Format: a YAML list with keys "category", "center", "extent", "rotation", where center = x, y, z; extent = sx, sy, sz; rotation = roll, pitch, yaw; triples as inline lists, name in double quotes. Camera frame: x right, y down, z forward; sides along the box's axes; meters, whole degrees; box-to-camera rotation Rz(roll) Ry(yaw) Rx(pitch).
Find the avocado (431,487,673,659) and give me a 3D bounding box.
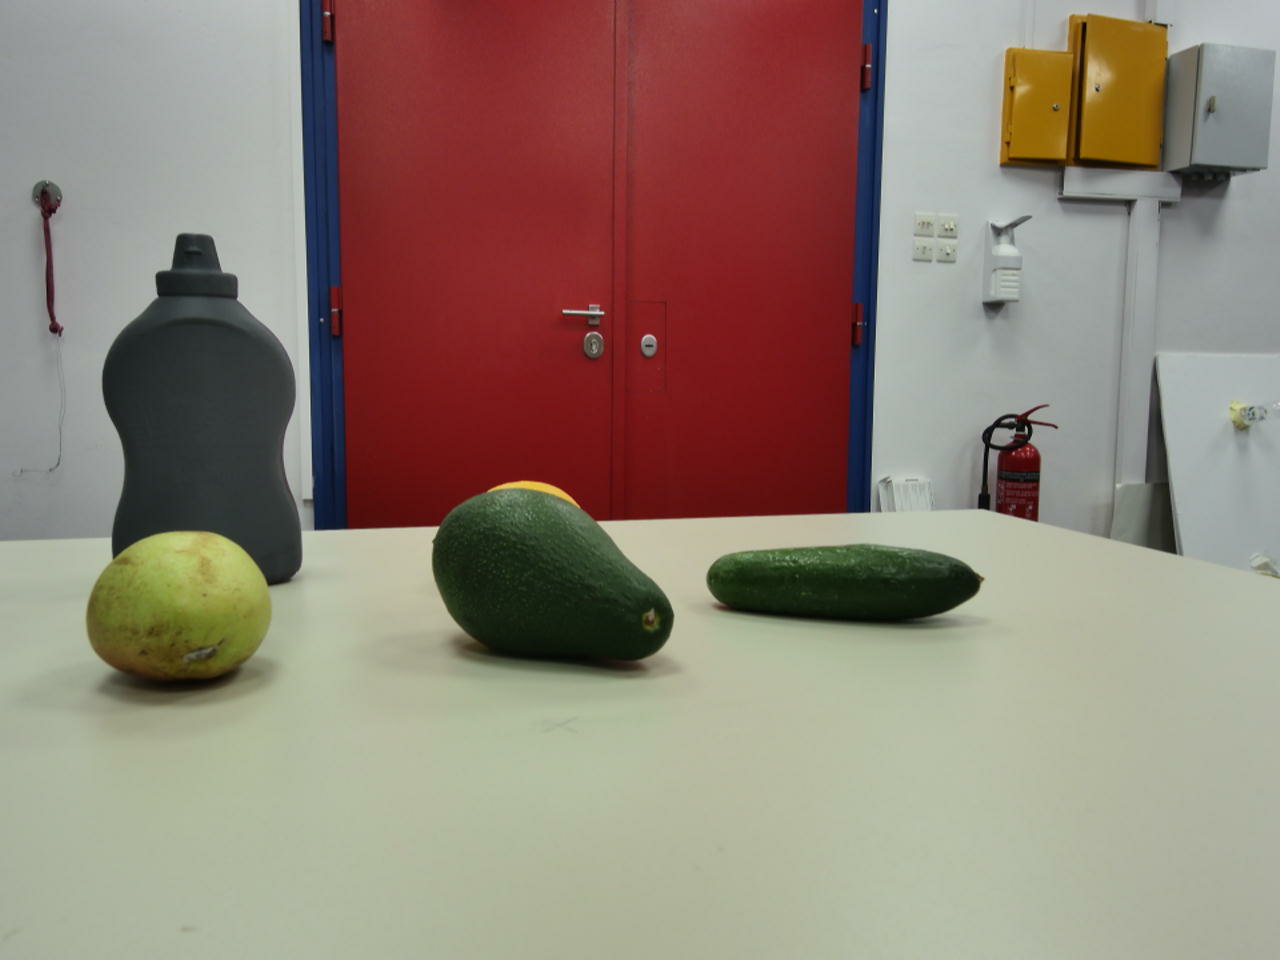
- category: "avocado"
  center: [-0.042, 0.039, 0.424]
  extent: [0.072, 0.071, 0.110]
  rotation: [-2, 5, -36]
